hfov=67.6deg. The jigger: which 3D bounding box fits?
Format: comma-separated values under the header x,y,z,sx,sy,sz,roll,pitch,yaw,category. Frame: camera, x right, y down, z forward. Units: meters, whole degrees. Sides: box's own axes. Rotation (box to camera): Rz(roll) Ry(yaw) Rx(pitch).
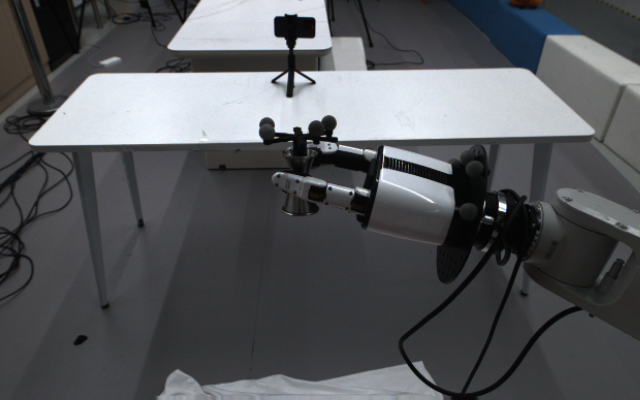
x,y,z,sx,sy,sz,roll,pitch,yaw,category
-0.023,-0.021,0.548,0.043,0.071,0.043,0,21,0,jigger
